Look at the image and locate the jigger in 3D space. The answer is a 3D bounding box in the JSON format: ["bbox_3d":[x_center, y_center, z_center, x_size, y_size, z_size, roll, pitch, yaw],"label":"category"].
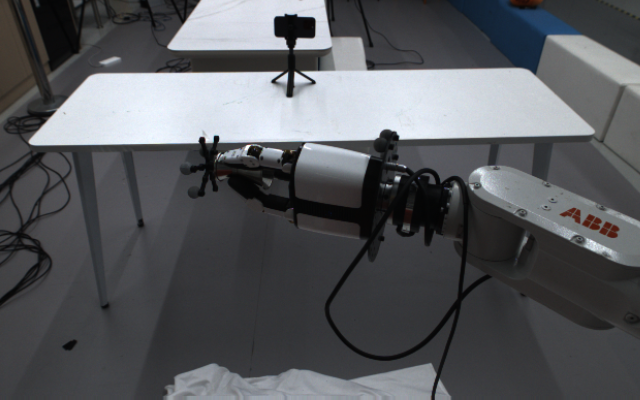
[{"bbox_3d":[-0.093,-0.044,0.631,0.071,0.043,0.043,8,35,14],"label":"jigger"}]
